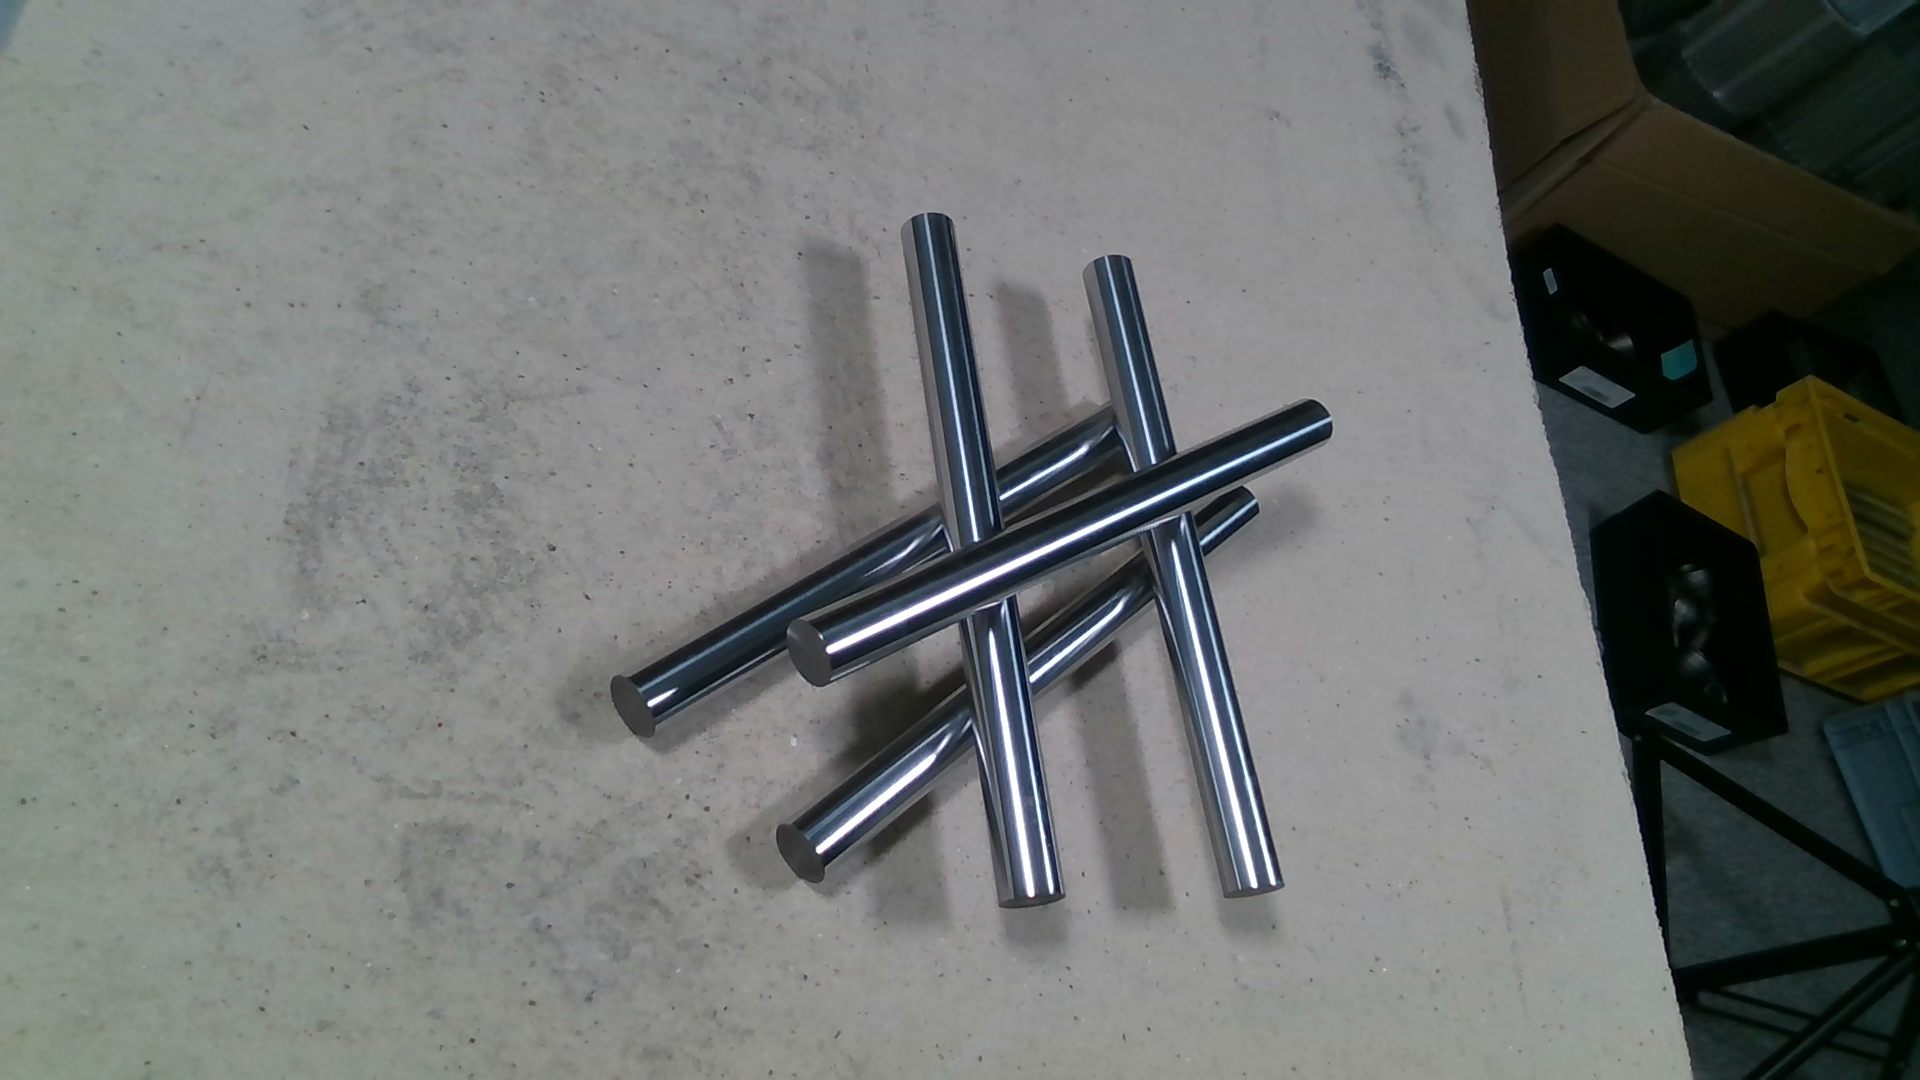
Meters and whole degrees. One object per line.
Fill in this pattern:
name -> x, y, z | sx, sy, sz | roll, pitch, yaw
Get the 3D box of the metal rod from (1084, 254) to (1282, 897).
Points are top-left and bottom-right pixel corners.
metal rod -> 0.094, 0.004, 0.610 | 0.025, 0.025, 0.299 | 5, 63, -30

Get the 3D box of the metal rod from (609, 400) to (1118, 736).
metal rod -> -0.015, -0.002, 0.577 | 0.300, 0.025, 0.025 | -31, 84, -39

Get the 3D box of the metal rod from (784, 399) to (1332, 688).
metal rod -> 0.057, -0.008, 0.561 | 0.300, 0.025, 0.025 | -23, 79, -38

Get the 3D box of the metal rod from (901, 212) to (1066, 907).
metal rod -> 0.006, -0.004, 0.560 | 0.025, 0.025, 0.299 | 6, 63, -29

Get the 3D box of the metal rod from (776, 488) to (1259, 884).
metal rod -> 0.040, 0.048, 0.585 | 0.300, 0.025, 0.025 | -34, 85, -39
